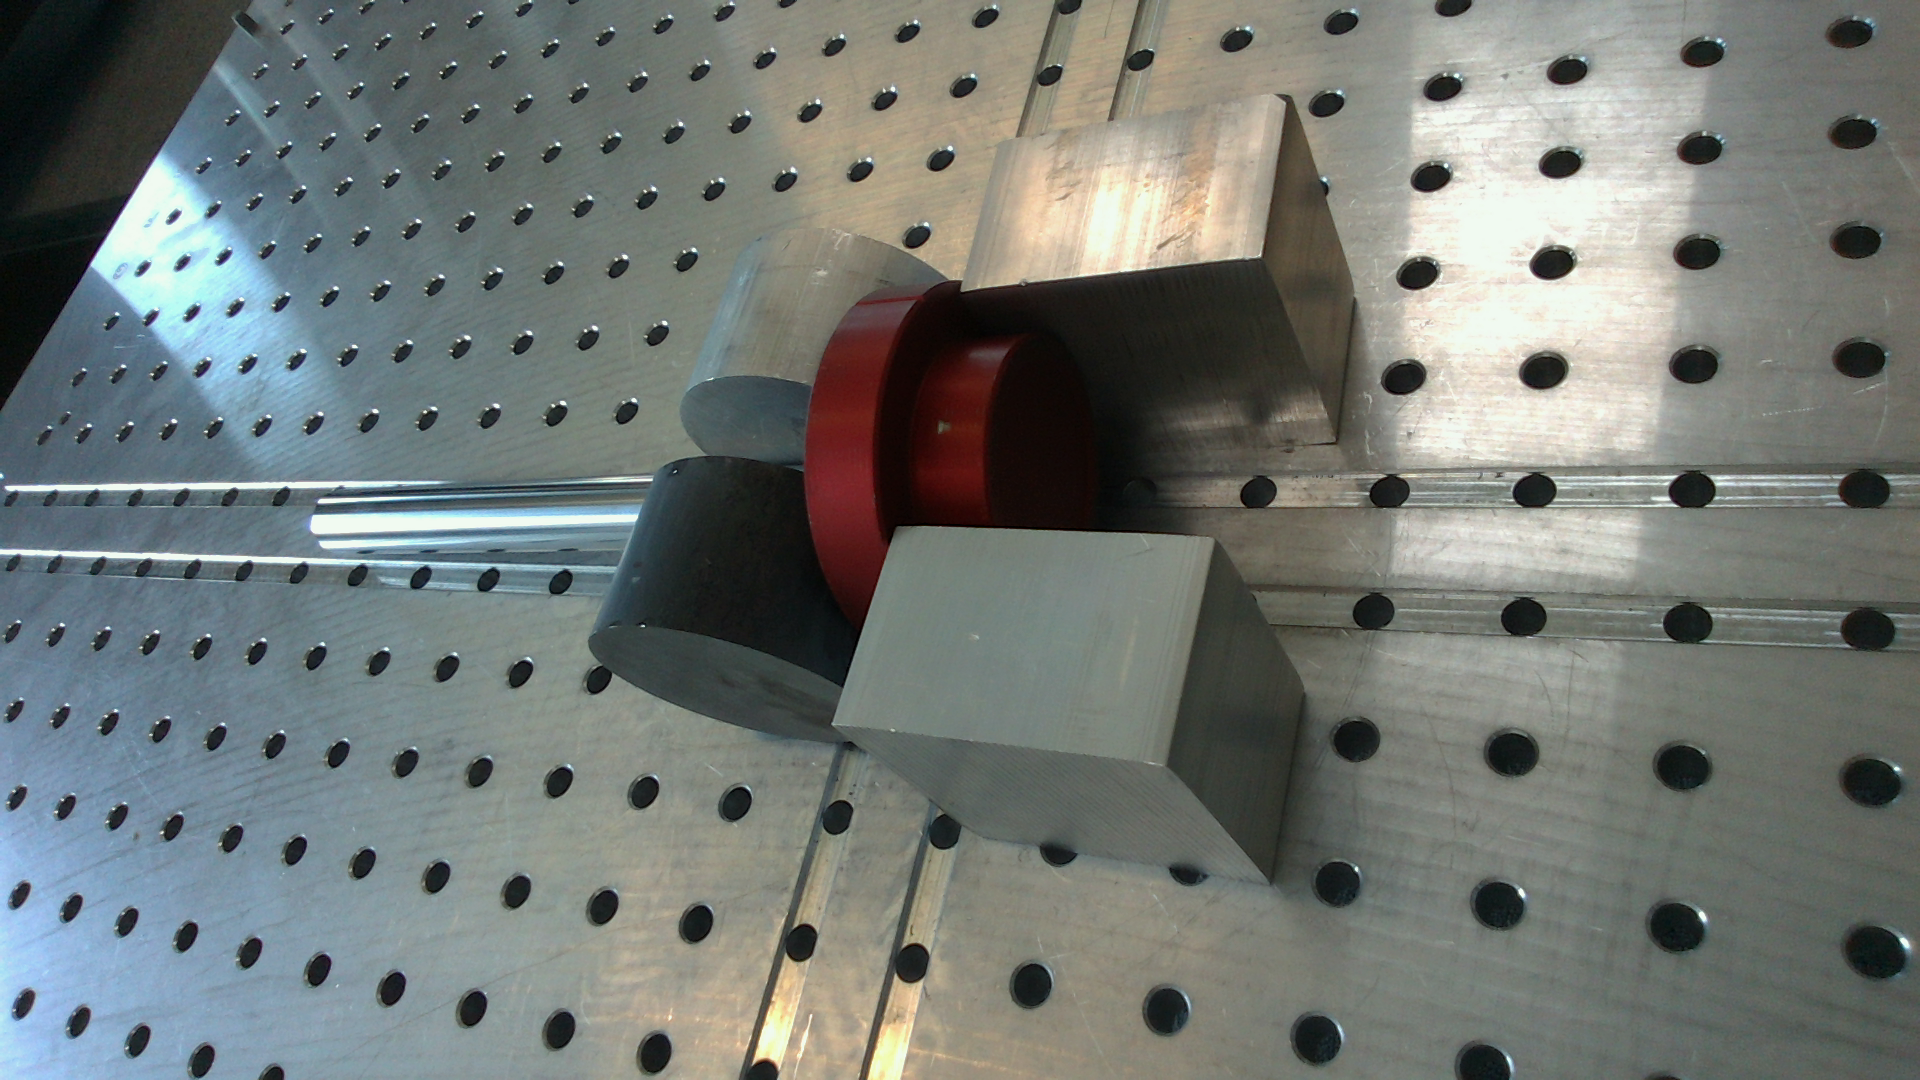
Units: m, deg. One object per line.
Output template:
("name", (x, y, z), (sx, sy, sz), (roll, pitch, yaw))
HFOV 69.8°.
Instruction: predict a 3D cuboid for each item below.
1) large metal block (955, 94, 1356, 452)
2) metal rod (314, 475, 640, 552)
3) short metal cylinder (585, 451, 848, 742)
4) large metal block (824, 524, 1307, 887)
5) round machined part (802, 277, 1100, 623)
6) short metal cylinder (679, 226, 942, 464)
("large metal block", (0.056, -0.067, 0.373), (0.080, 0.080, 0.050), (0, 61, 28))
("metal rod", (-0.111, -0.009, 0.447), (0.299, 0.025, 0.025), (-1, 61, 33))
("short metal cylinder", (-0.055, 0.018, 0.379), (0.080, 0.080, 0.050), (1, 63, 29))
("large metal block", (0.029, 0.039, 0.323), (0.080, 0.080, 0.050), (3, 63, 30))
("round machined part", (0.004, -0.019, 0.358), (0.042, 0.098, 0.098), (1, 62, 29))
("short metal cylinder", (-0.037, -0.048, 0.411), (0.080, 0.080, 0.050), (1, 62, 29))
